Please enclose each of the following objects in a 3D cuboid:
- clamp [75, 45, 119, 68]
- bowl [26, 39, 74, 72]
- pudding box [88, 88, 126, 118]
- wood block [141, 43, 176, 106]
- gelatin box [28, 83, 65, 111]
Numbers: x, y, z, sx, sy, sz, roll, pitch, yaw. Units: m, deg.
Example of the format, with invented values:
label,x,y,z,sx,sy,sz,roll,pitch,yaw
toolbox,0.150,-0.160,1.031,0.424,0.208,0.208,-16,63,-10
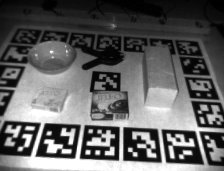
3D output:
label,x,y,z,sx,sy,sz,roll,pitch,yaw
clamp,-0.054,-0.115,0.817,0.166,0.037,0.121,-3,50,-11
bowl,-0.217,-0.100,0.775,0.162,0.055,0.161,3,52,-4
pudding box,-0.014,0.053,0.667,0.114,0.039,0.089,2,53,-1
wood block,0.151,-0.042,0.728,0.090,0.091,0.205,6,49,0
gelatin box,-0.200,0.033,0.669,0.089,0.030,0.073,10,51,3
